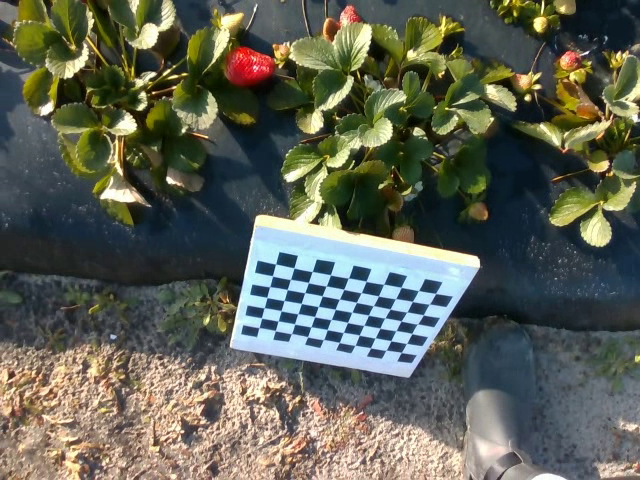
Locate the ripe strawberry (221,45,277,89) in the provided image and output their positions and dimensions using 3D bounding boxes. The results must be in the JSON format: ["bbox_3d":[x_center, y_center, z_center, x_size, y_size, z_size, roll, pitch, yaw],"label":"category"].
[{"bbox_3d":[-0.081,-0.209,0.813,0.072,0.055,0.057,1,-40,16],"label":"ripe strawberry"}]
